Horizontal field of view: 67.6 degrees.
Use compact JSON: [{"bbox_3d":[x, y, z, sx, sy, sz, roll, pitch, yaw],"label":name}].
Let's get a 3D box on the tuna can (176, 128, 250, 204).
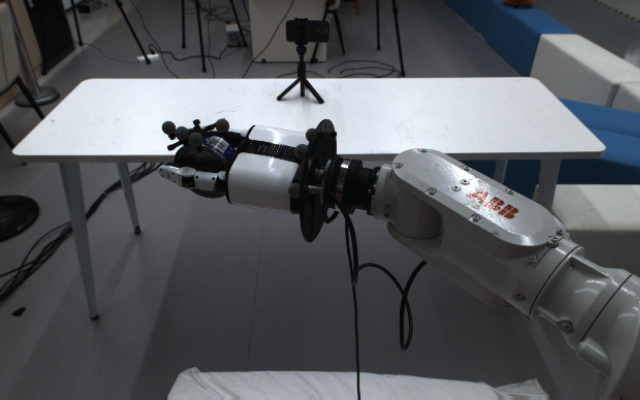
[{"bbox_3d":[-0.149,-0.045,0.654,0.085,0.085,0.034,10,38,12],"label":"tuna can"}]
